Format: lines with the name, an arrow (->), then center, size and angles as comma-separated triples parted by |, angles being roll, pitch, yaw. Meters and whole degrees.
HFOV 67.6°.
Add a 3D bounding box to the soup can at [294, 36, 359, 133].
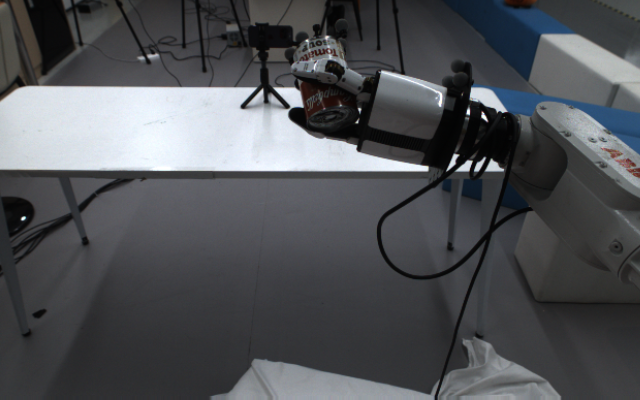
soup can -> 0.007, -0.146, 0.615 | 0.067, 0.067, 0.101 | -8, 74, -14
